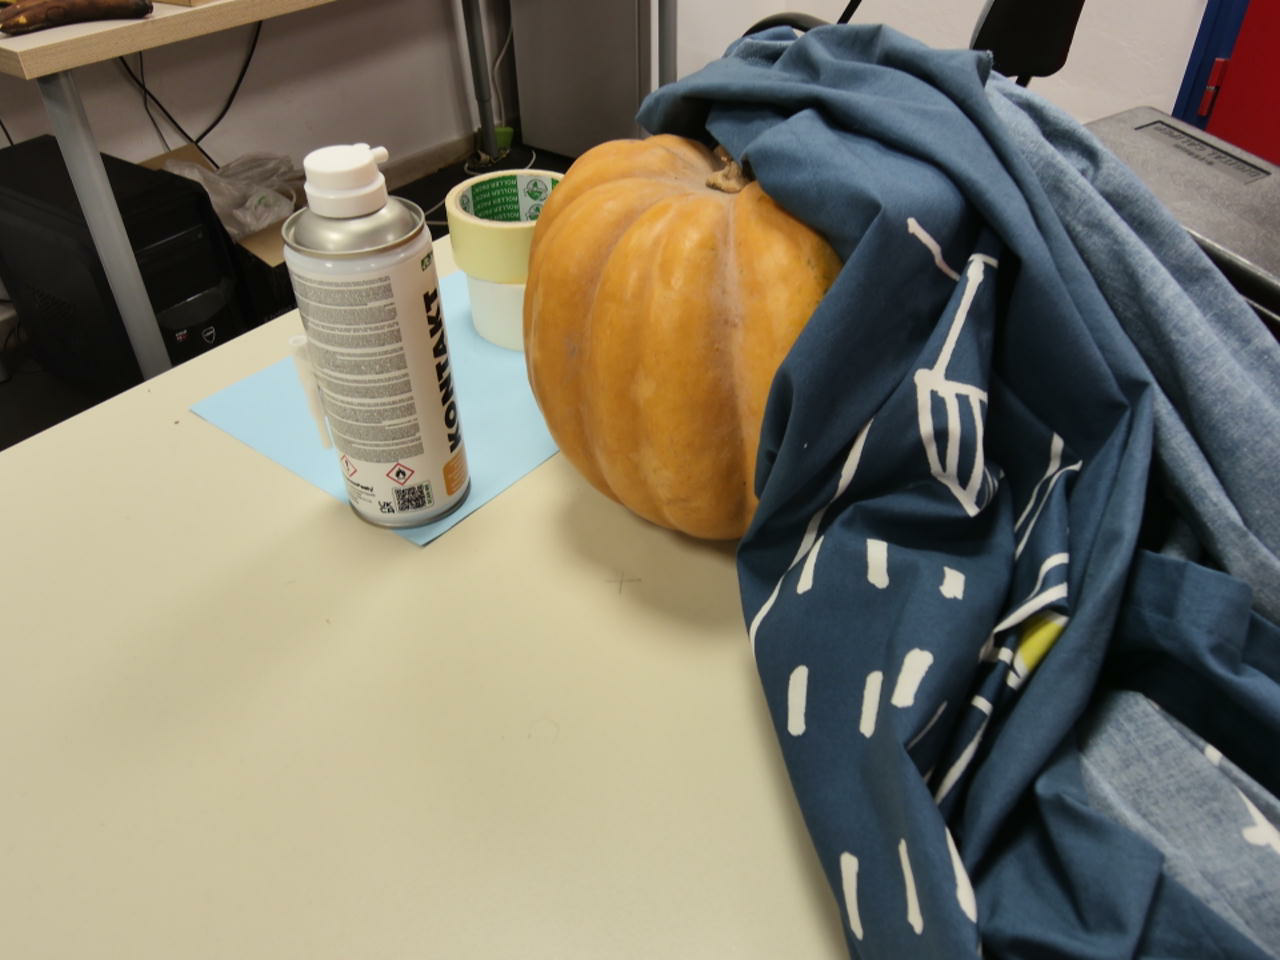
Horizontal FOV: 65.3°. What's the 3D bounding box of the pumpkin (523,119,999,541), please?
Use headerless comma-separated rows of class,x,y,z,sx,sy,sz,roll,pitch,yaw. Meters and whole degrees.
pumpkin,0.055,-0.074,0.493,0.230,0.194,0.230,0,37,0
